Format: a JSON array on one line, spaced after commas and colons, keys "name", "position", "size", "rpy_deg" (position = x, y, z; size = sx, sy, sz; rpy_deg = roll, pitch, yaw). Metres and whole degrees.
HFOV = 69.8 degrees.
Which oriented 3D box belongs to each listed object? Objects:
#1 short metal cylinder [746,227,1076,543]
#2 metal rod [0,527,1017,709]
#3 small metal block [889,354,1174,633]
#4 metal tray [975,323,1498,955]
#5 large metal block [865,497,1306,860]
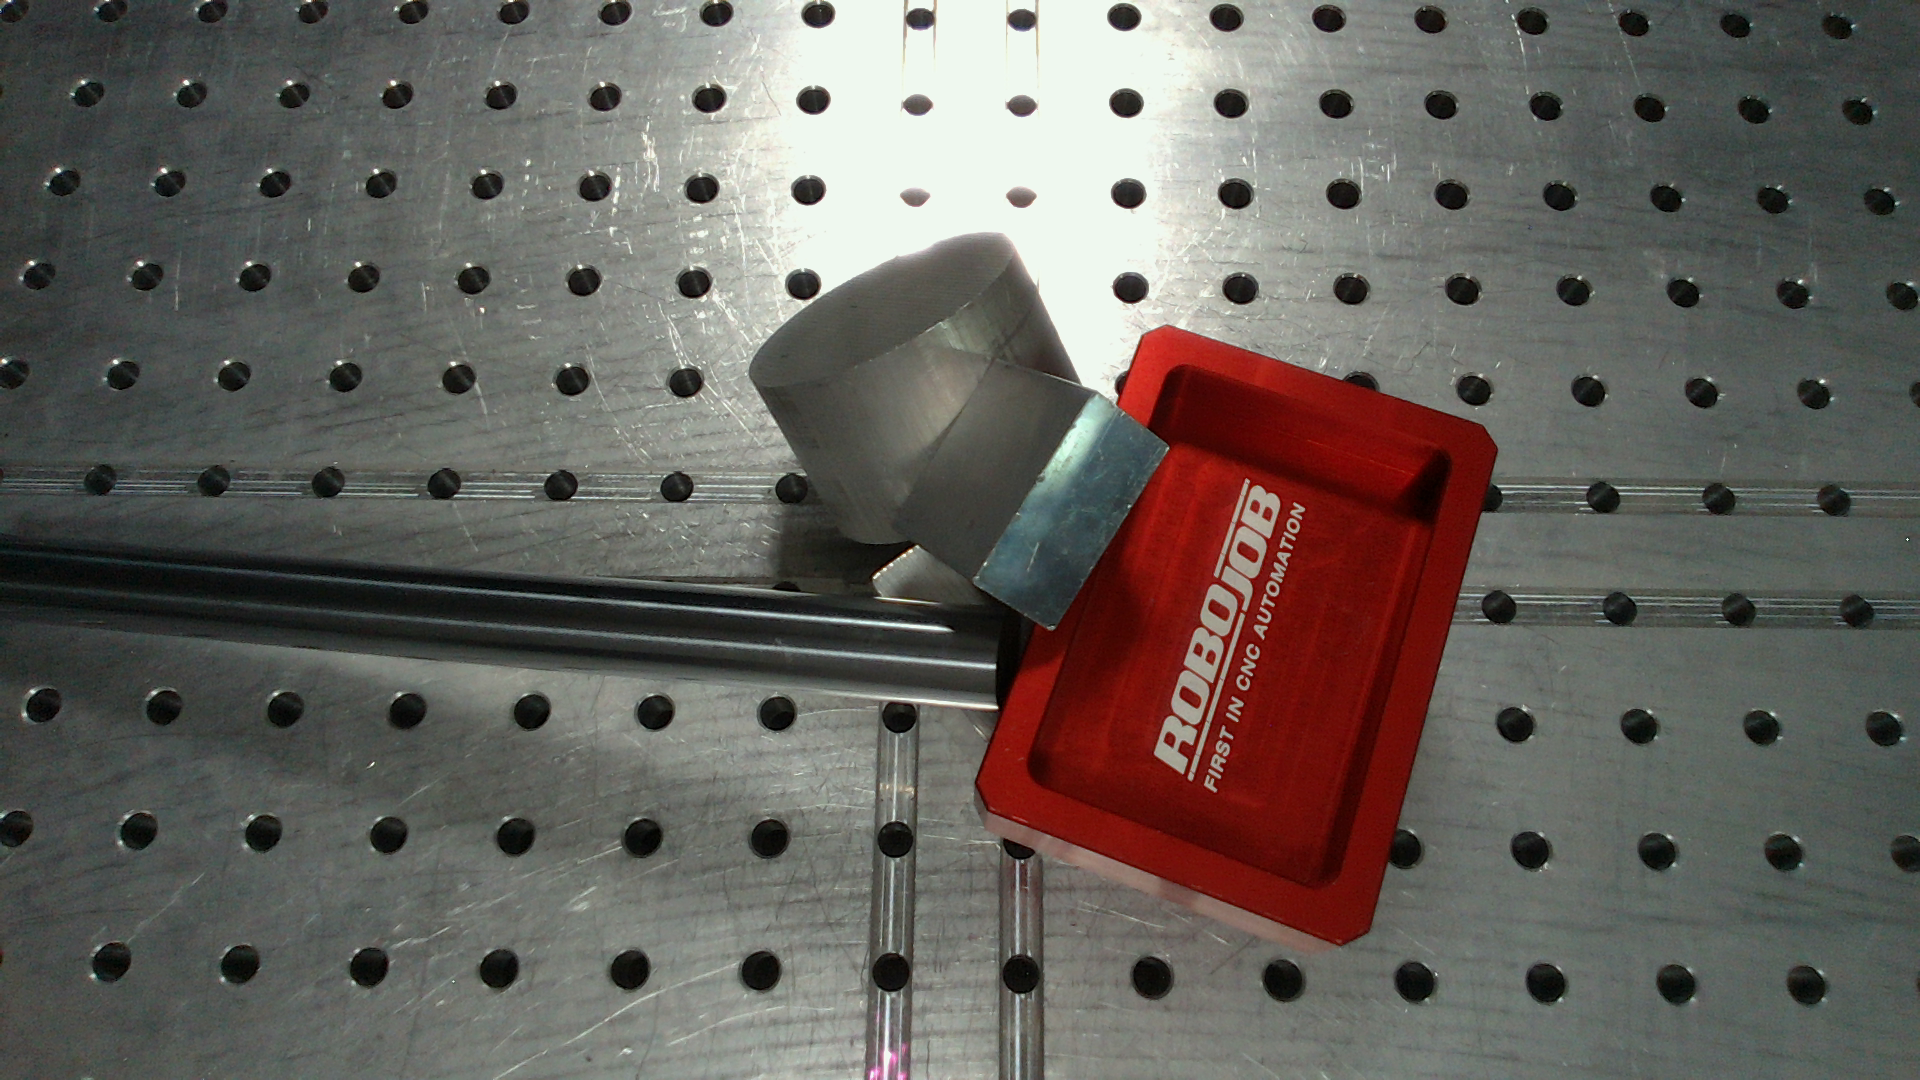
[{"name": "short metal cylinder", "position": [-0.011, -0.043, 0.377], "size": [0.080, 0.080, 0.050], "rpy_deg": [-33, 116, -11]}, {"name": "metal rod", "position": [-0.135, 0.018, 0.359], "size": [0.299, 0.025, 0.025], "rpy_deg": [4, 70, 13]}, {"name": "small metal block", "position": [0.015, -0.013, 0.325], "size": [0.025, 0.050, 0.050], "rpy_deg": [32, 90, -29]}, {"name": "metal tray", "position": [0.067, 0.021, 0.330], "size": [0.090, 0.030, 0.130], "rpy_deg": [19, 71, 7]}, {"name": "large metal block", "position": [0.032, 0.027, 0.373], "size": [0.080, 0.050, 0.080], "rpy_deg": [-34, 73, -11]}]
